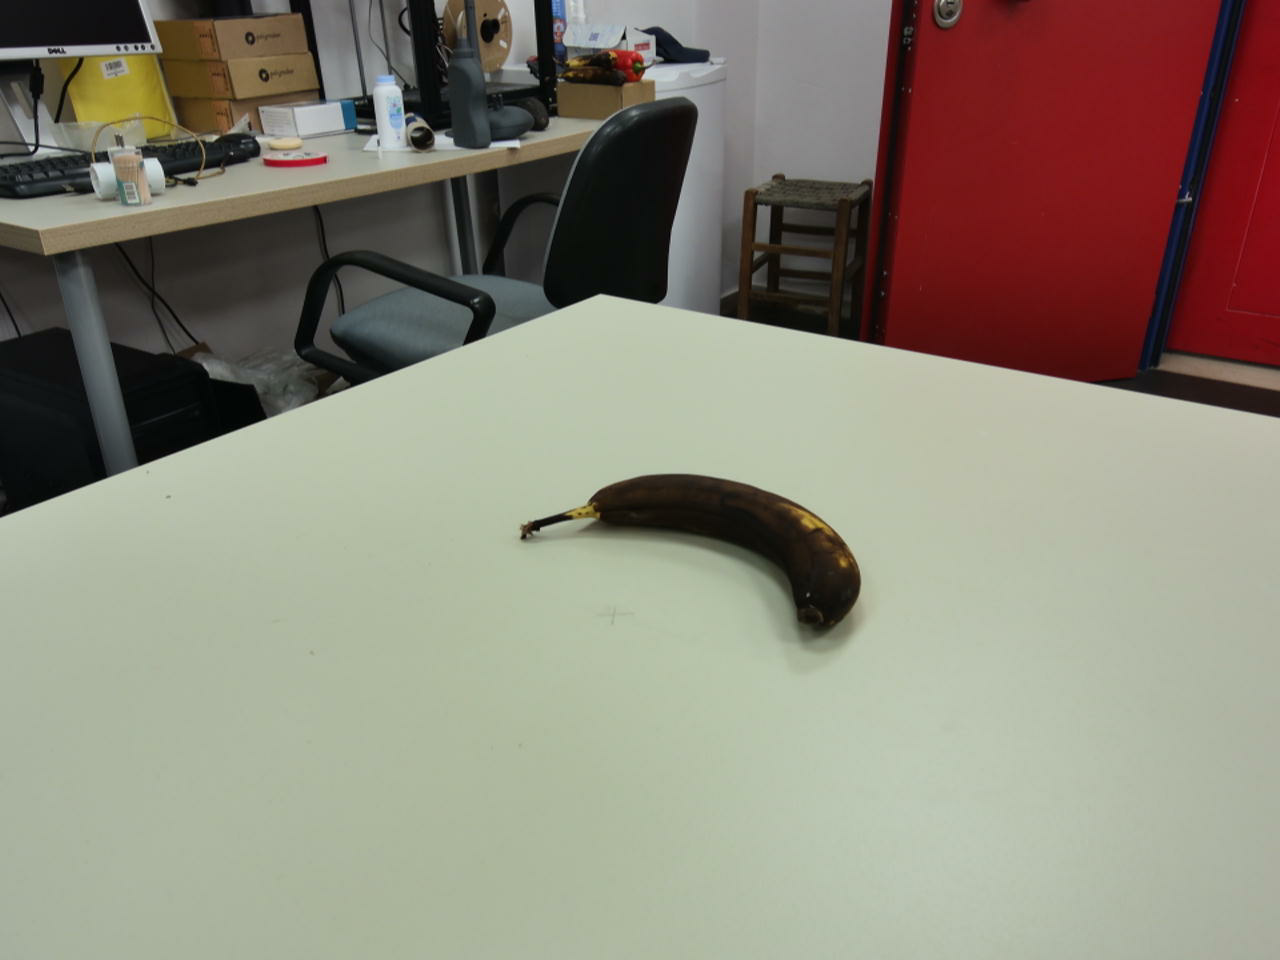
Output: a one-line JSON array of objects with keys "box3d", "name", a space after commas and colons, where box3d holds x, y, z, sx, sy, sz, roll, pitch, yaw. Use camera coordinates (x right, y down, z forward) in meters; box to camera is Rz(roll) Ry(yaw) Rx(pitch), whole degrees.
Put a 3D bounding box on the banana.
[{"box3d": [0.035, 0.025, 0.524, 0.188, 0.034, 0.091, 17, 30, 34], "name": "banana"}]
